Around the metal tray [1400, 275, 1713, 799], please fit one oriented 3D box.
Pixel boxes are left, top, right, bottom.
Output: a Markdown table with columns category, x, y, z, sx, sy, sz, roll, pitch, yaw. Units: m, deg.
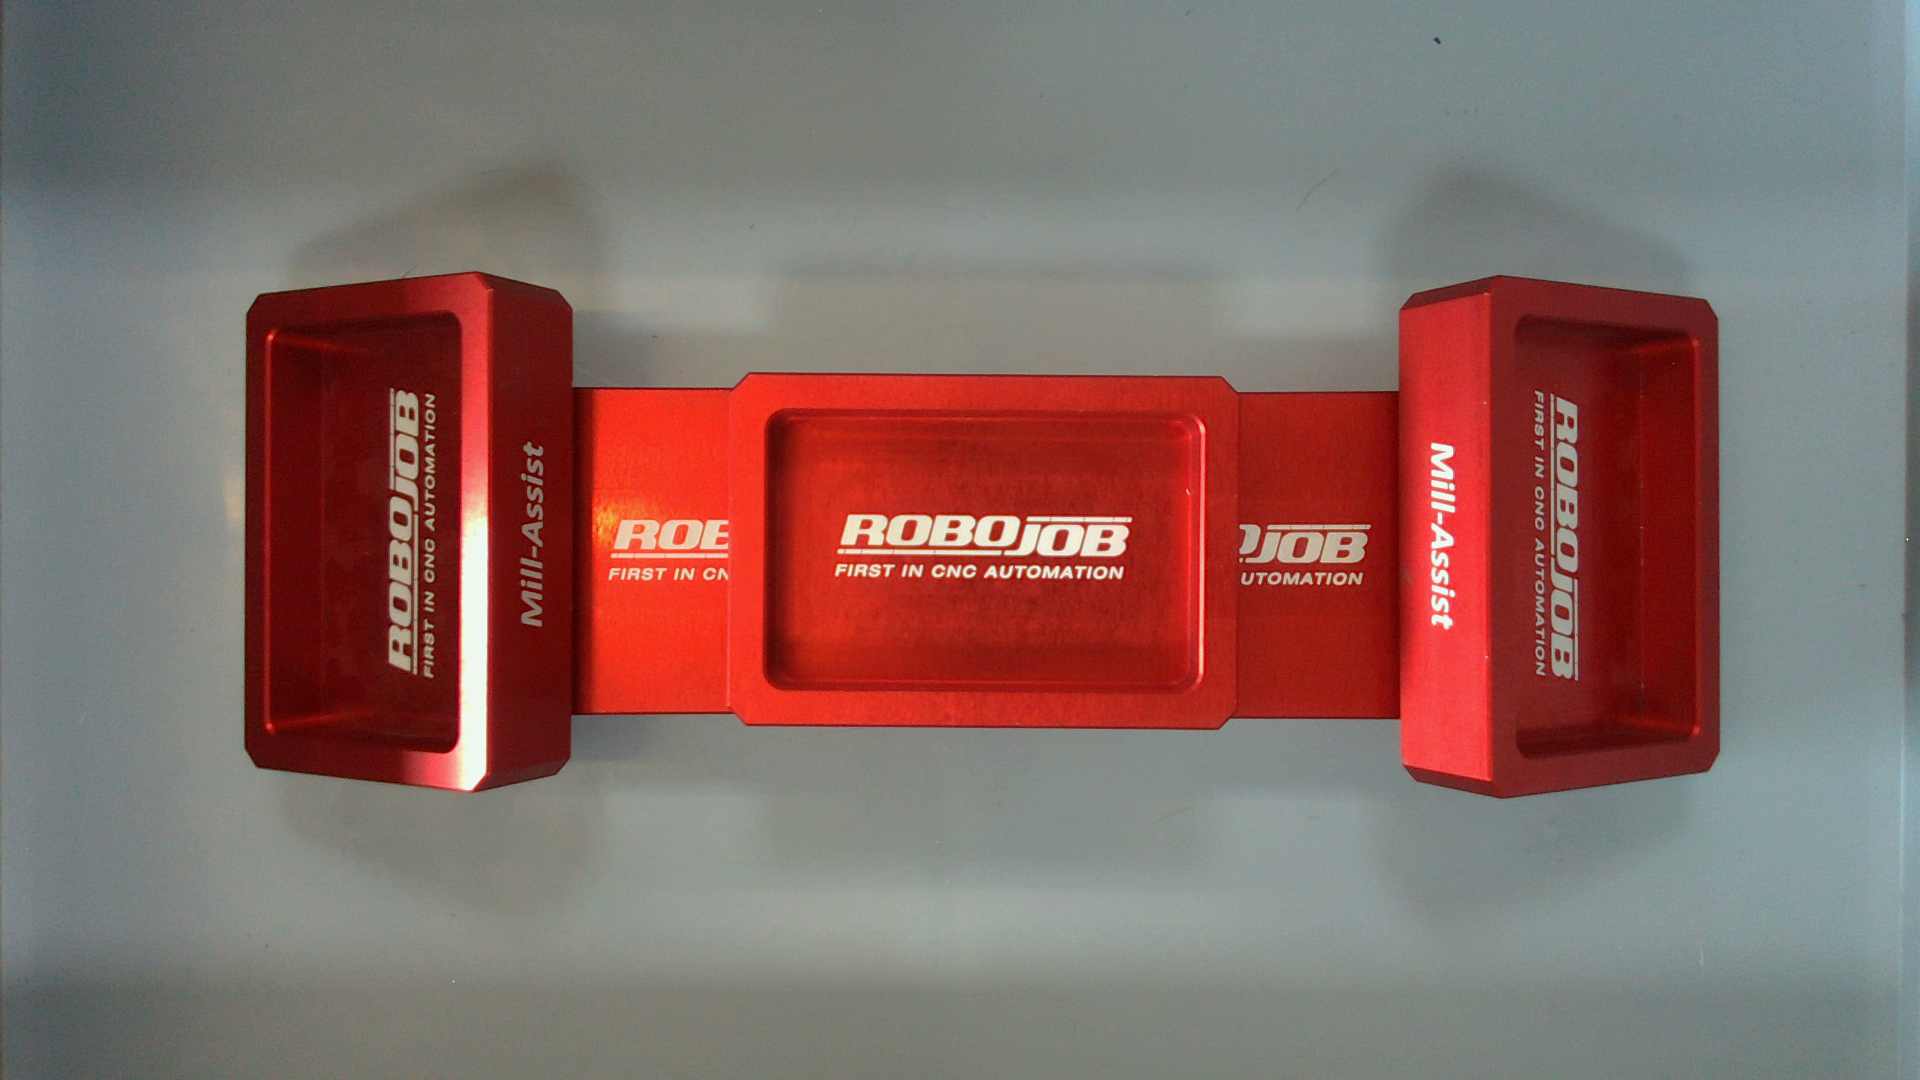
| category | x | y | z | sx | sy | sz | roll | pitch | yaw |
| --- | --- | --- | --- | --- | --- | --- | --- | --- | --- |
| metal tray | 0.163 | -0.001 | 0.373 | 0.090 | 0.030 | 0.130 | 0 | 90 | -28 |

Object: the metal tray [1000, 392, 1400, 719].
| category | x | y | z | sx | sy | sz | roll | pitch | yaw |
| --- | --- | --- | --- | --- | --- | --- | --- | --- | --- |
| metal tray | 0.072 | 0.004 | 0.393 | 0.130 | 0.030 | 0.090 | 0 | 90 | 0 |

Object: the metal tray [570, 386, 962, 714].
| category | x | y | z | sx | sy | sz | roll | pitch | yaw |
| --- | --- | --- | --- | --- | --- | --- | --- | --- | --- |
| metal tray | -0.058 | 0.003 | 0.392 | 0.130 | 0.030 | 0.090 | 0 | 90 | 0 |

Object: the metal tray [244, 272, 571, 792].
| category | x | y | z | sx | sy | sz | roll | pitch | yaw |
| --- | --- | --- | --- | --- | --- | --- | --- | --- | --- |
| metal tray | -0.151 | -0.002 | 0.373 | 0.090 | 0.030 | 0.130 | 1 | 90 | 25 |

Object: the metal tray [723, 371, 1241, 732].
| category | x | y | z | sx | sy | sz | roll | pitch | yaw |
| --- | --- | --- | --- | --- | --- | --- | --- | --- | --- |
| metal tray | 0.006 | 0.003 | 0.361 | 0.130 | 0.030 | 0.090 | 1 | 90 | 0 |
